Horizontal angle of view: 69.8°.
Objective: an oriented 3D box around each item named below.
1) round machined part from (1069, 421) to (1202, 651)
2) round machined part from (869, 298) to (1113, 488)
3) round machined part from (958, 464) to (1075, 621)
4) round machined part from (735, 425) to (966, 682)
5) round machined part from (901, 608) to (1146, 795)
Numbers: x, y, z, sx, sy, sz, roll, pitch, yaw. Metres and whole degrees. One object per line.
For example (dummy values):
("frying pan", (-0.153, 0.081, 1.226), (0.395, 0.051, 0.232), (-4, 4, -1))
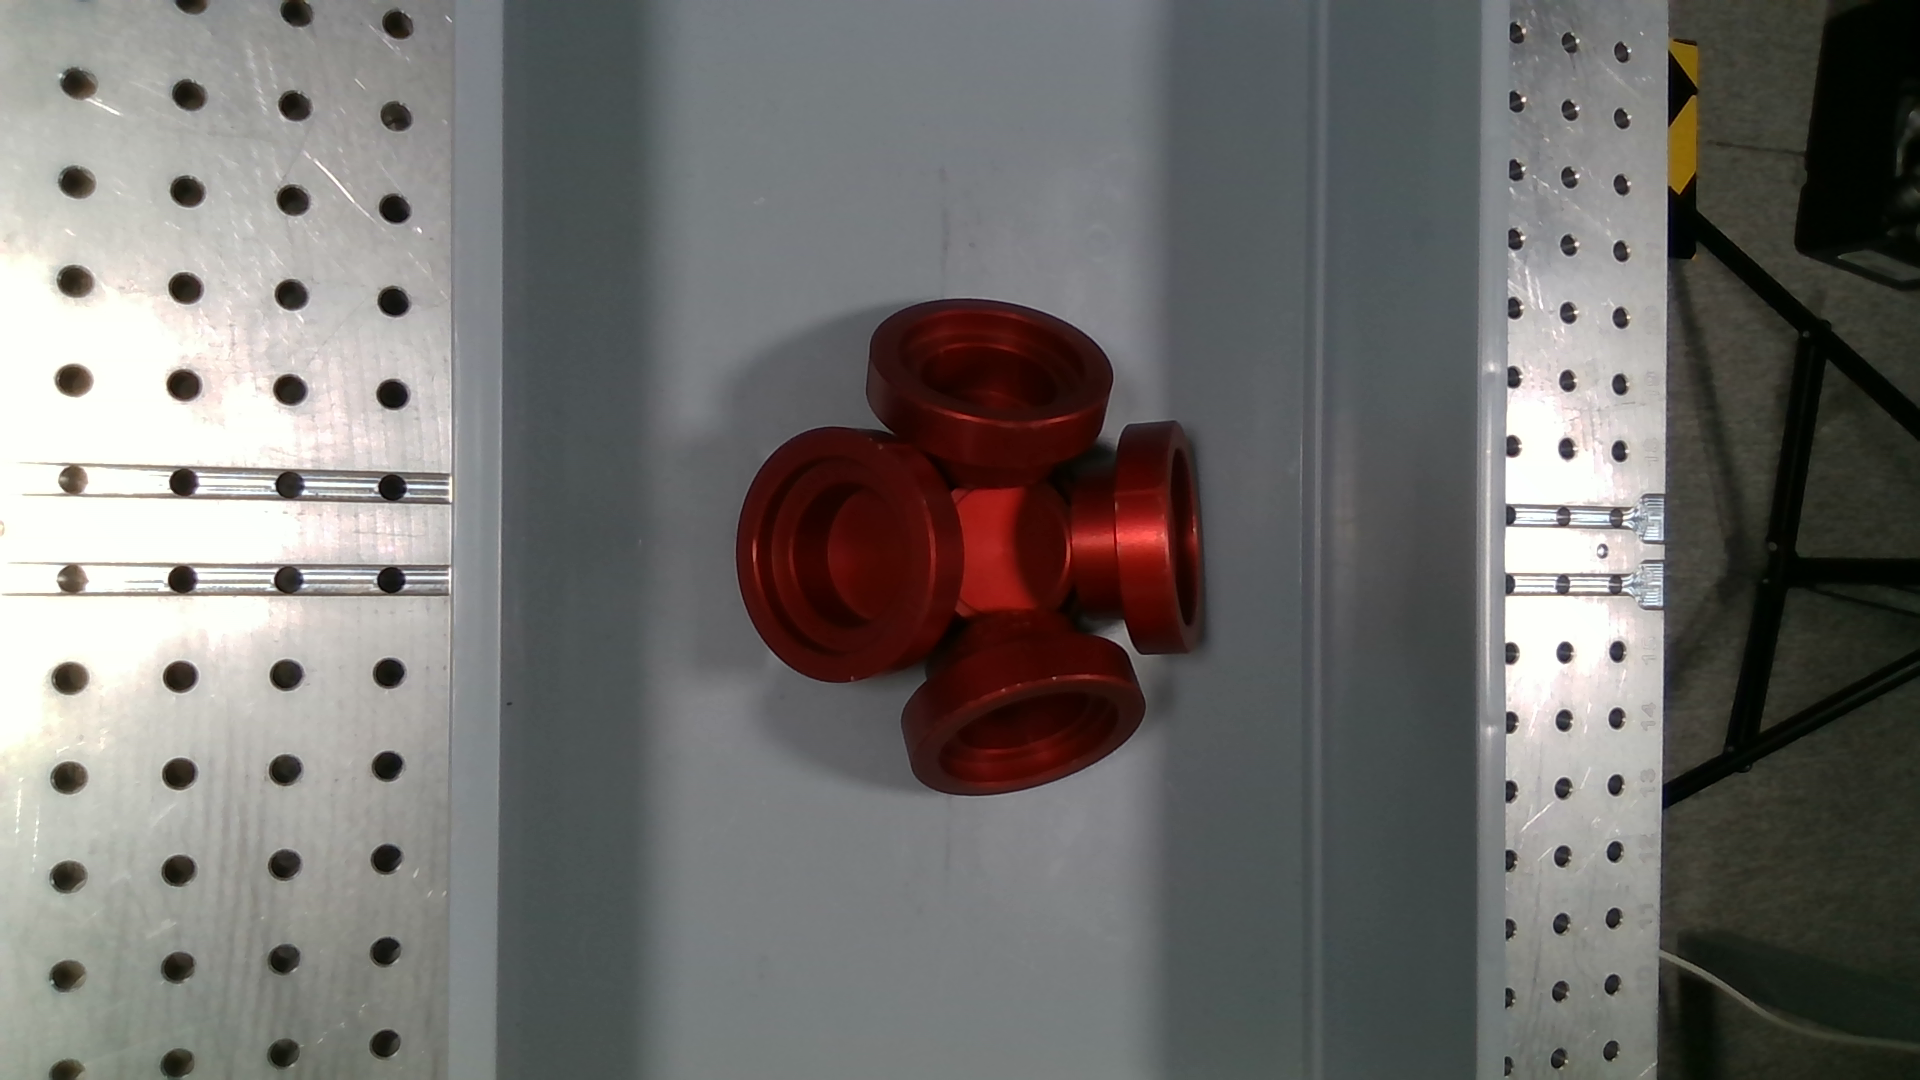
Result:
("round machined part", (0.075, -0.001, 0.583), (0.042, 0.098, 0.098), (-3, 92, 18))
("round machined part", (0.010, -0.057, 0.559), (0.098, 0.098, 0.042), (-7, 130, -20))
("round machined part", (0.012, 0.003, 0.579), (0.098, 0.042, 0.098), (0, 90, -20))
("round machined part", (-0.038, 0.005, 0.541), (0.042, 0.098, 0.098), (-2, 91, -57))
("round machined part", (0.023, 0.064, 0.565), (0.098, 0.098, 0.042), (-3, 55, -20))
